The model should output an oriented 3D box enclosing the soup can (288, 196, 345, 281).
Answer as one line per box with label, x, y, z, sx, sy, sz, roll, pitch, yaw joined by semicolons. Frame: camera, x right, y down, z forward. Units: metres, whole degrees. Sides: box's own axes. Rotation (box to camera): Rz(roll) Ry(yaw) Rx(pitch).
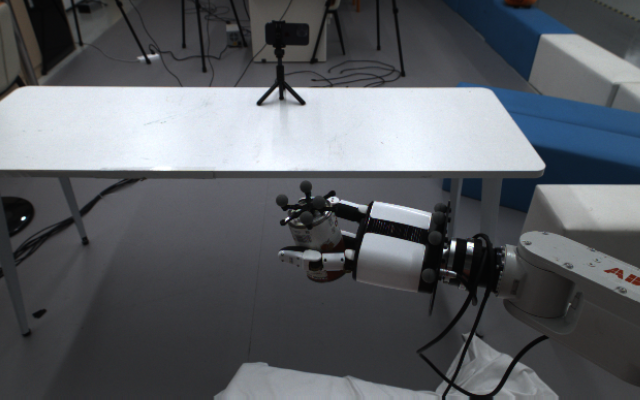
soup can;0.001;0.057;0.680;0.067;0.101;0.067;-13;31;8
